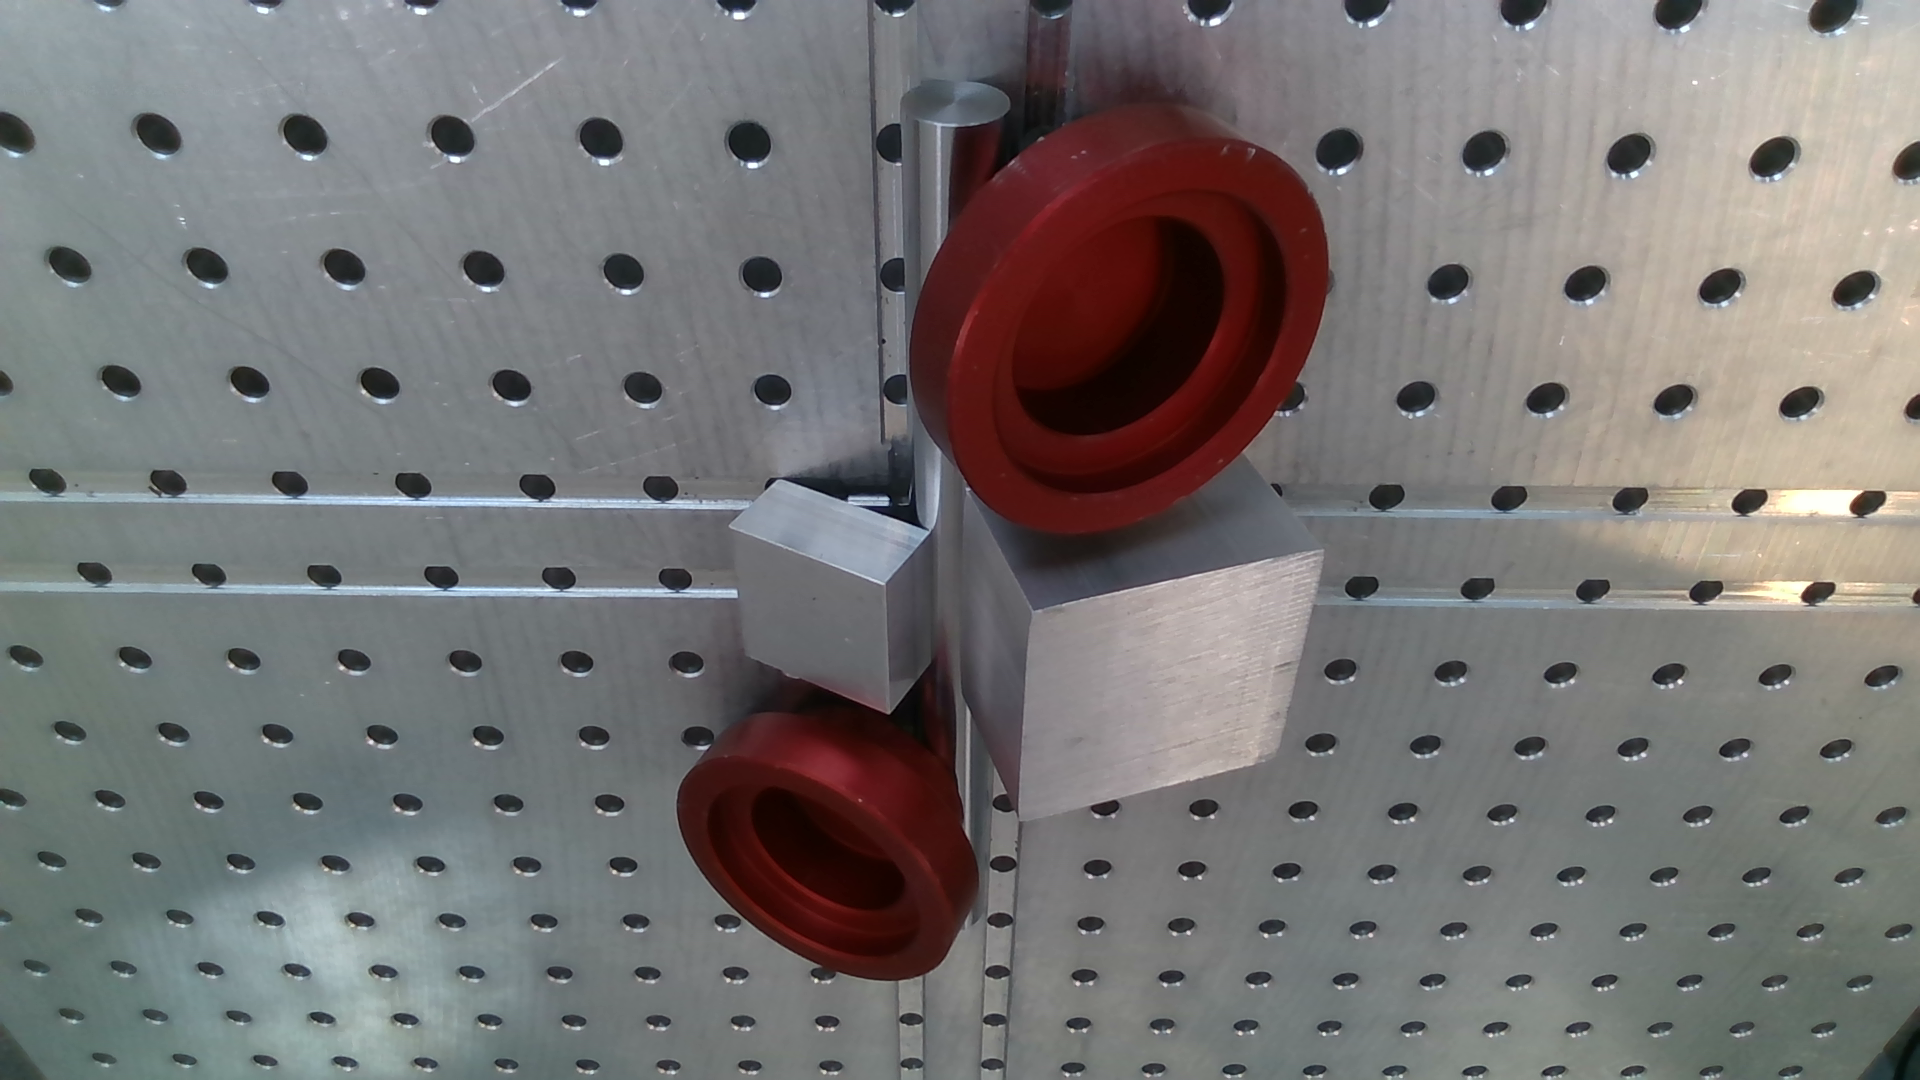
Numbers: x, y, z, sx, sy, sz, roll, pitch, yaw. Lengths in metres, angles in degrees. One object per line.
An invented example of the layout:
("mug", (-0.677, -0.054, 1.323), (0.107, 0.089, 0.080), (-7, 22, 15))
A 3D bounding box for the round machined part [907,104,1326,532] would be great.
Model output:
("round machined part", (0.032, -0.053, 0.319), (0.098, 0.042, 0.098), (-17, 133, -19))

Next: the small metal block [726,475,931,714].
("small metal block", (-0.036, 0.015, 0.392), (0.050, 0.025, 0.050), (20, 134, 21))

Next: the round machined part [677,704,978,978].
("round machined part", (-0.038, 0.092, 0.442), (0.098, 0.042, 0.098), (17, 133, 19))

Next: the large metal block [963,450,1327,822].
("large metal block", (0.046, 0.024, 0.381), (0.080, 0.050, 0.080), (-11, 132, -14))

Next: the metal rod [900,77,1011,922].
("metal rod", (-0.002, 0.016, 0.406), (0.025, 0.025, 0.301), (0, 130, 0))
